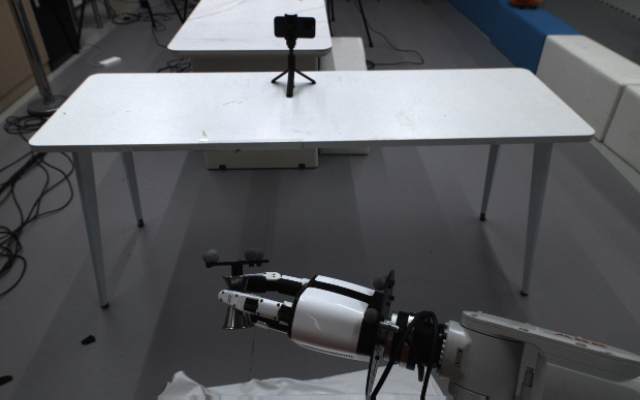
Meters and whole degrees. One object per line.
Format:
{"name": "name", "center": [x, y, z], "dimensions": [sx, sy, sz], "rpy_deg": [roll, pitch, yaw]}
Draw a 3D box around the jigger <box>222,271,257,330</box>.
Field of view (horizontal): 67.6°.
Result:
{"name": "jigger", "center": [-0.110, 0.135, 0.647], "dimensions": [0.043, 0.071, 0.043], "rpy_deg": [-2, -7, 0]}
